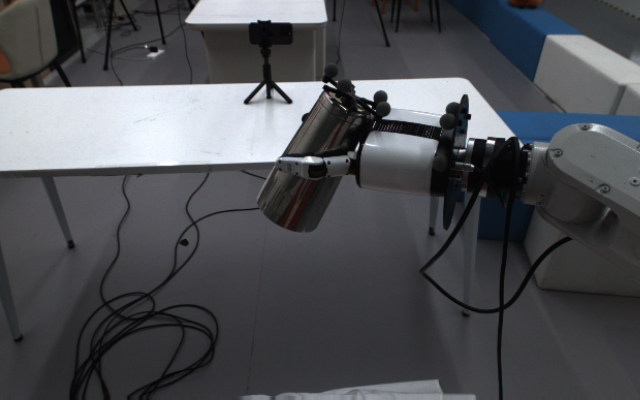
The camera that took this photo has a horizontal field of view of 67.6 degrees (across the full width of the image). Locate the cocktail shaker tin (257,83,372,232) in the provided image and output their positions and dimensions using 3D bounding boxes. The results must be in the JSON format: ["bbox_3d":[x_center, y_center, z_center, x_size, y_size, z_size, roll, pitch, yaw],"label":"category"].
[{"bbox_3d":[-0.004,-0.055,0.620,0.093,0.170,0.093,25,29,-15],"label":"cocktail shaker tin"}]
